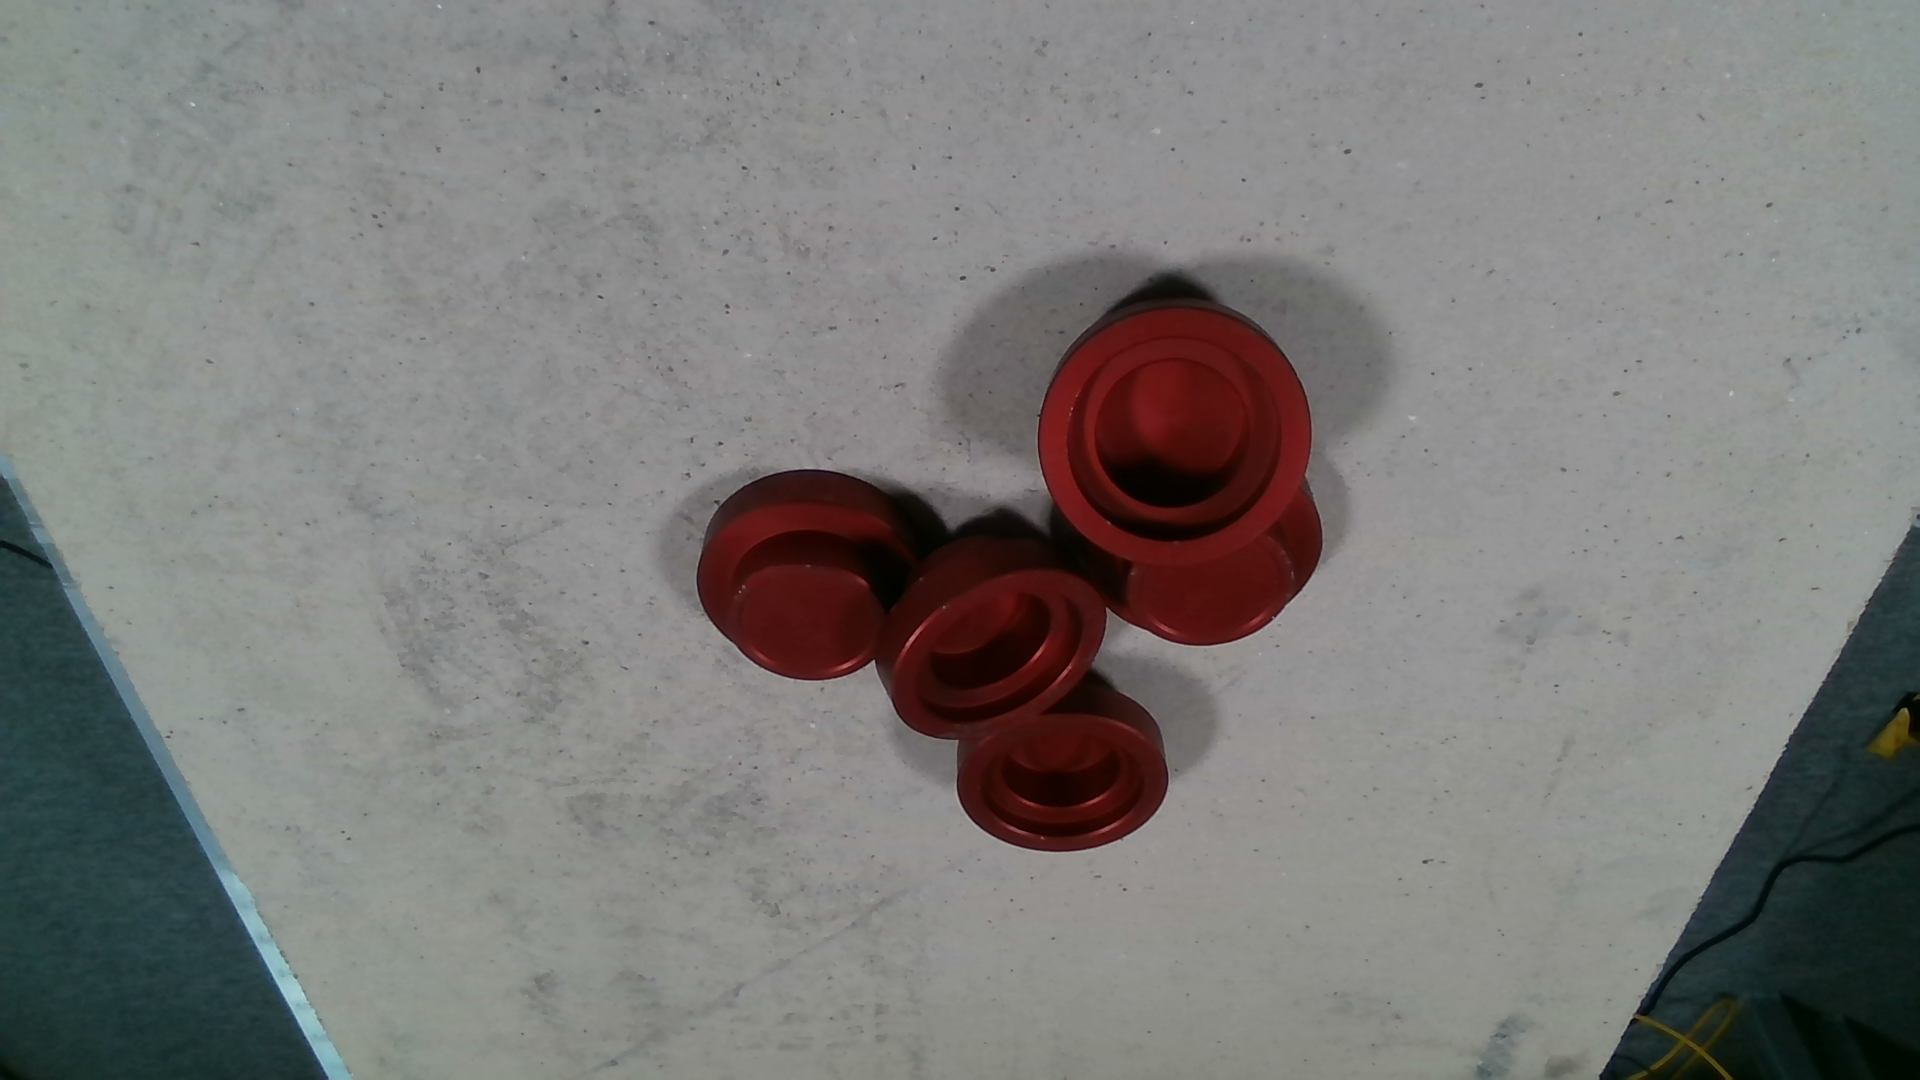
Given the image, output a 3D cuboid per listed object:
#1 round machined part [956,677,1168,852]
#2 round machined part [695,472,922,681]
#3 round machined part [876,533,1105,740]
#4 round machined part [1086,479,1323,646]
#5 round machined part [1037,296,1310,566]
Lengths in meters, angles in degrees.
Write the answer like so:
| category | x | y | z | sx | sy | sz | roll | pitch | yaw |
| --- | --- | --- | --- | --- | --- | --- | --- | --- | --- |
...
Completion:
| category | x | y | z | sx | sy | sz | roll | pitch | yaw |
| --- | --- | --- | --- | --- | --- | --- | --- | --- | --- |
| round machined part | 0.047 | 0.101 | 0.653 | 0.098 | 0.042 | 0.098 | 0 | 130 | 0 |
| round machined part | -0.064 | 0.022 | 0.586 | 0.098 | 0.042 | 0.098 | 0 | 130 | 0 |
| round machined part | 0.009 | 0.036 | 0.585 | 0.098 | 0.042 | 0.098 | -16 | 135 | -17 |
| round machined part | 0.101 | 0.006 | 0.572 | 0.098 | 0.042 | 0.098 | 0 | 130 | 0 |
| round machined part | 0.079 | -0.043 | 0.518 | 0.098 | 0.042 | 0.098 | 2 | 109 | 6 |
